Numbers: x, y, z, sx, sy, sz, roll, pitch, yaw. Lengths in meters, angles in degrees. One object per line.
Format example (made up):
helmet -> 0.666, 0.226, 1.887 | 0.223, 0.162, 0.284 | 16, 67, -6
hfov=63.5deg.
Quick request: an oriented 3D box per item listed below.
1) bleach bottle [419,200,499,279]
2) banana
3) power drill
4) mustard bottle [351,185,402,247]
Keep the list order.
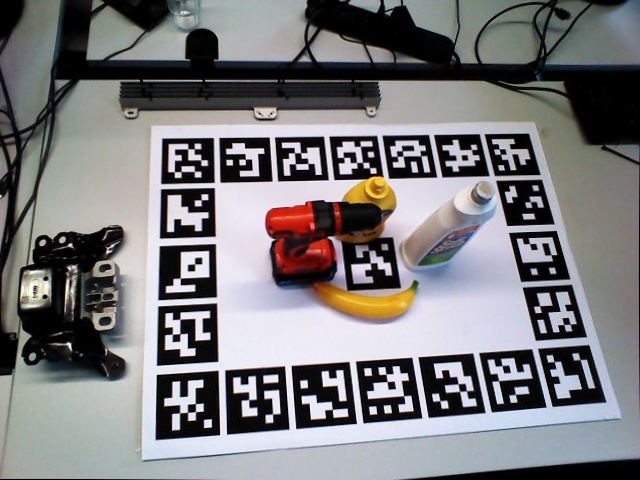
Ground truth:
bleach bottle -> 0.251, -0.004, 0.869 | 0.102, 0.252, 0.067 | -10, 71, -11
banana -> 0.121, 0.113, 0.910 | 0.197, 0.039, 0.074 | 1, 73, -5
power drill -> 0.021, 0.006, 0.838 | 0.184, 0.188, 0.057 | -4, 62, -12
mustard bottle -> 0.115, -0.047, 0.891 | 0.096, 0.192, 0.058 | -1, 68, -9
